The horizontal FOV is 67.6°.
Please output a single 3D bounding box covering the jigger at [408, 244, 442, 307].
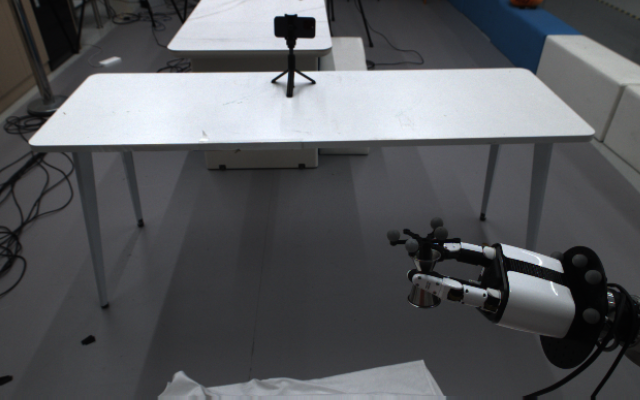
[{"bbox_3d":[0.137,0.101,0.634,0.043,0.071,0.043,-2,19,1],"label":"jigger"}]
